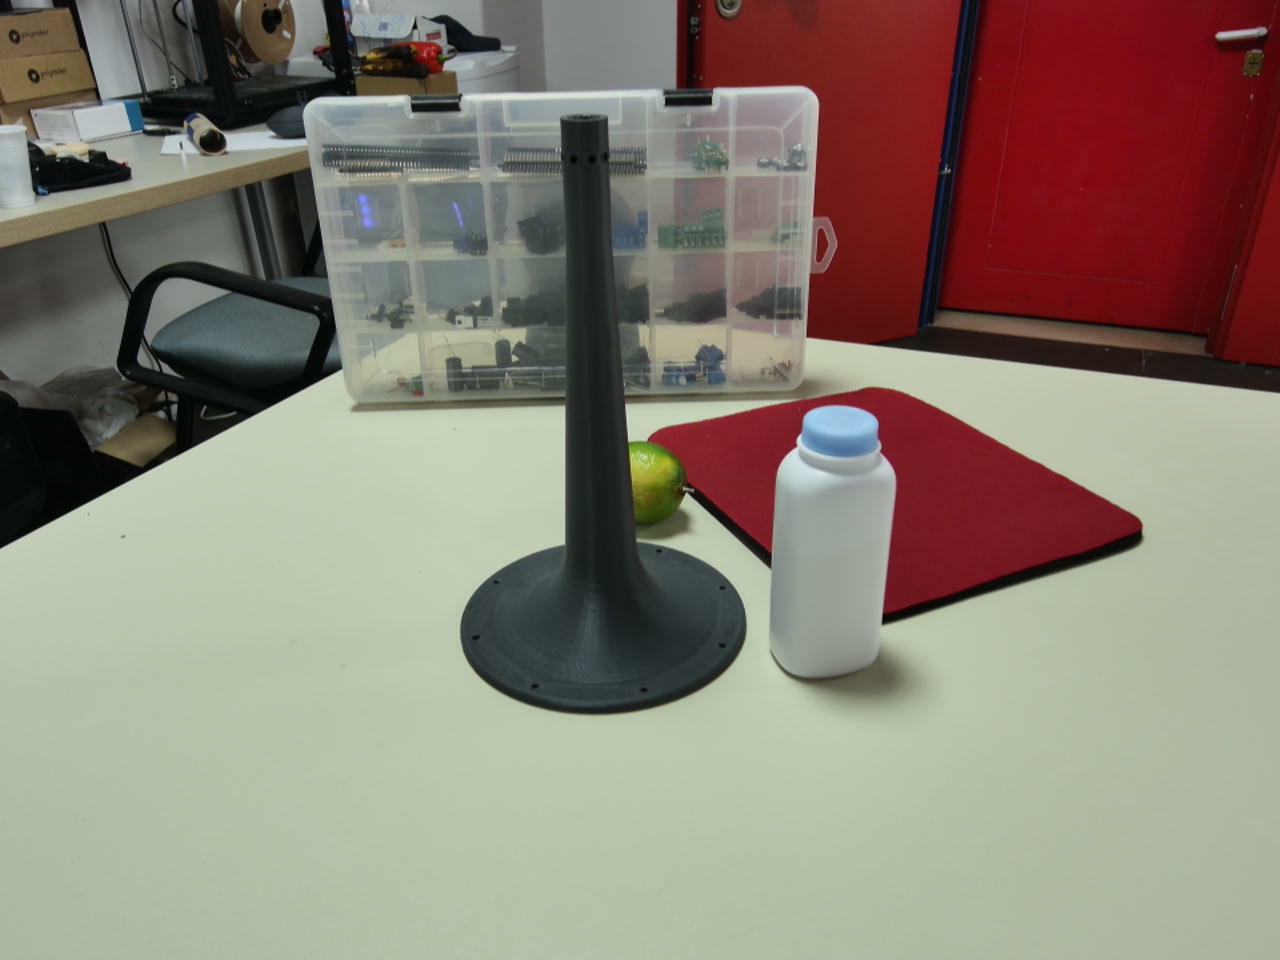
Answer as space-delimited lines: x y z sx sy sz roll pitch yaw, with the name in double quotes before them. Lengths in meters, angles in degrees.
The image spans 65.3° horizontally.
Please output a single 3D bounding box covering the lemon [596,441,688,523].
"lemon" 0.001 0.001 0.621 0.054 0.050 0.055 -6 27 -14
